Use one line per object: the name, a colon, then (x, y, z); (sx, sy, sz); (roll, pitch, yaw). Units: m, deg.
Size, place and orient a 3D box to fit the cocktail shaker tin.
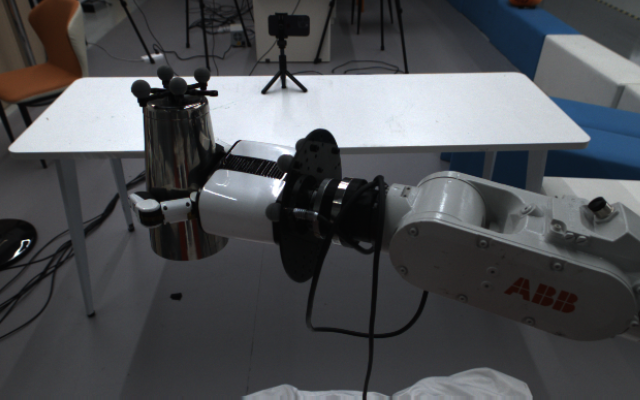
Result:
cocktail shaker tin: (-0.150, -0.028, 0.540); (0.093, 0.170, 0.093); (2, 28, -1)
